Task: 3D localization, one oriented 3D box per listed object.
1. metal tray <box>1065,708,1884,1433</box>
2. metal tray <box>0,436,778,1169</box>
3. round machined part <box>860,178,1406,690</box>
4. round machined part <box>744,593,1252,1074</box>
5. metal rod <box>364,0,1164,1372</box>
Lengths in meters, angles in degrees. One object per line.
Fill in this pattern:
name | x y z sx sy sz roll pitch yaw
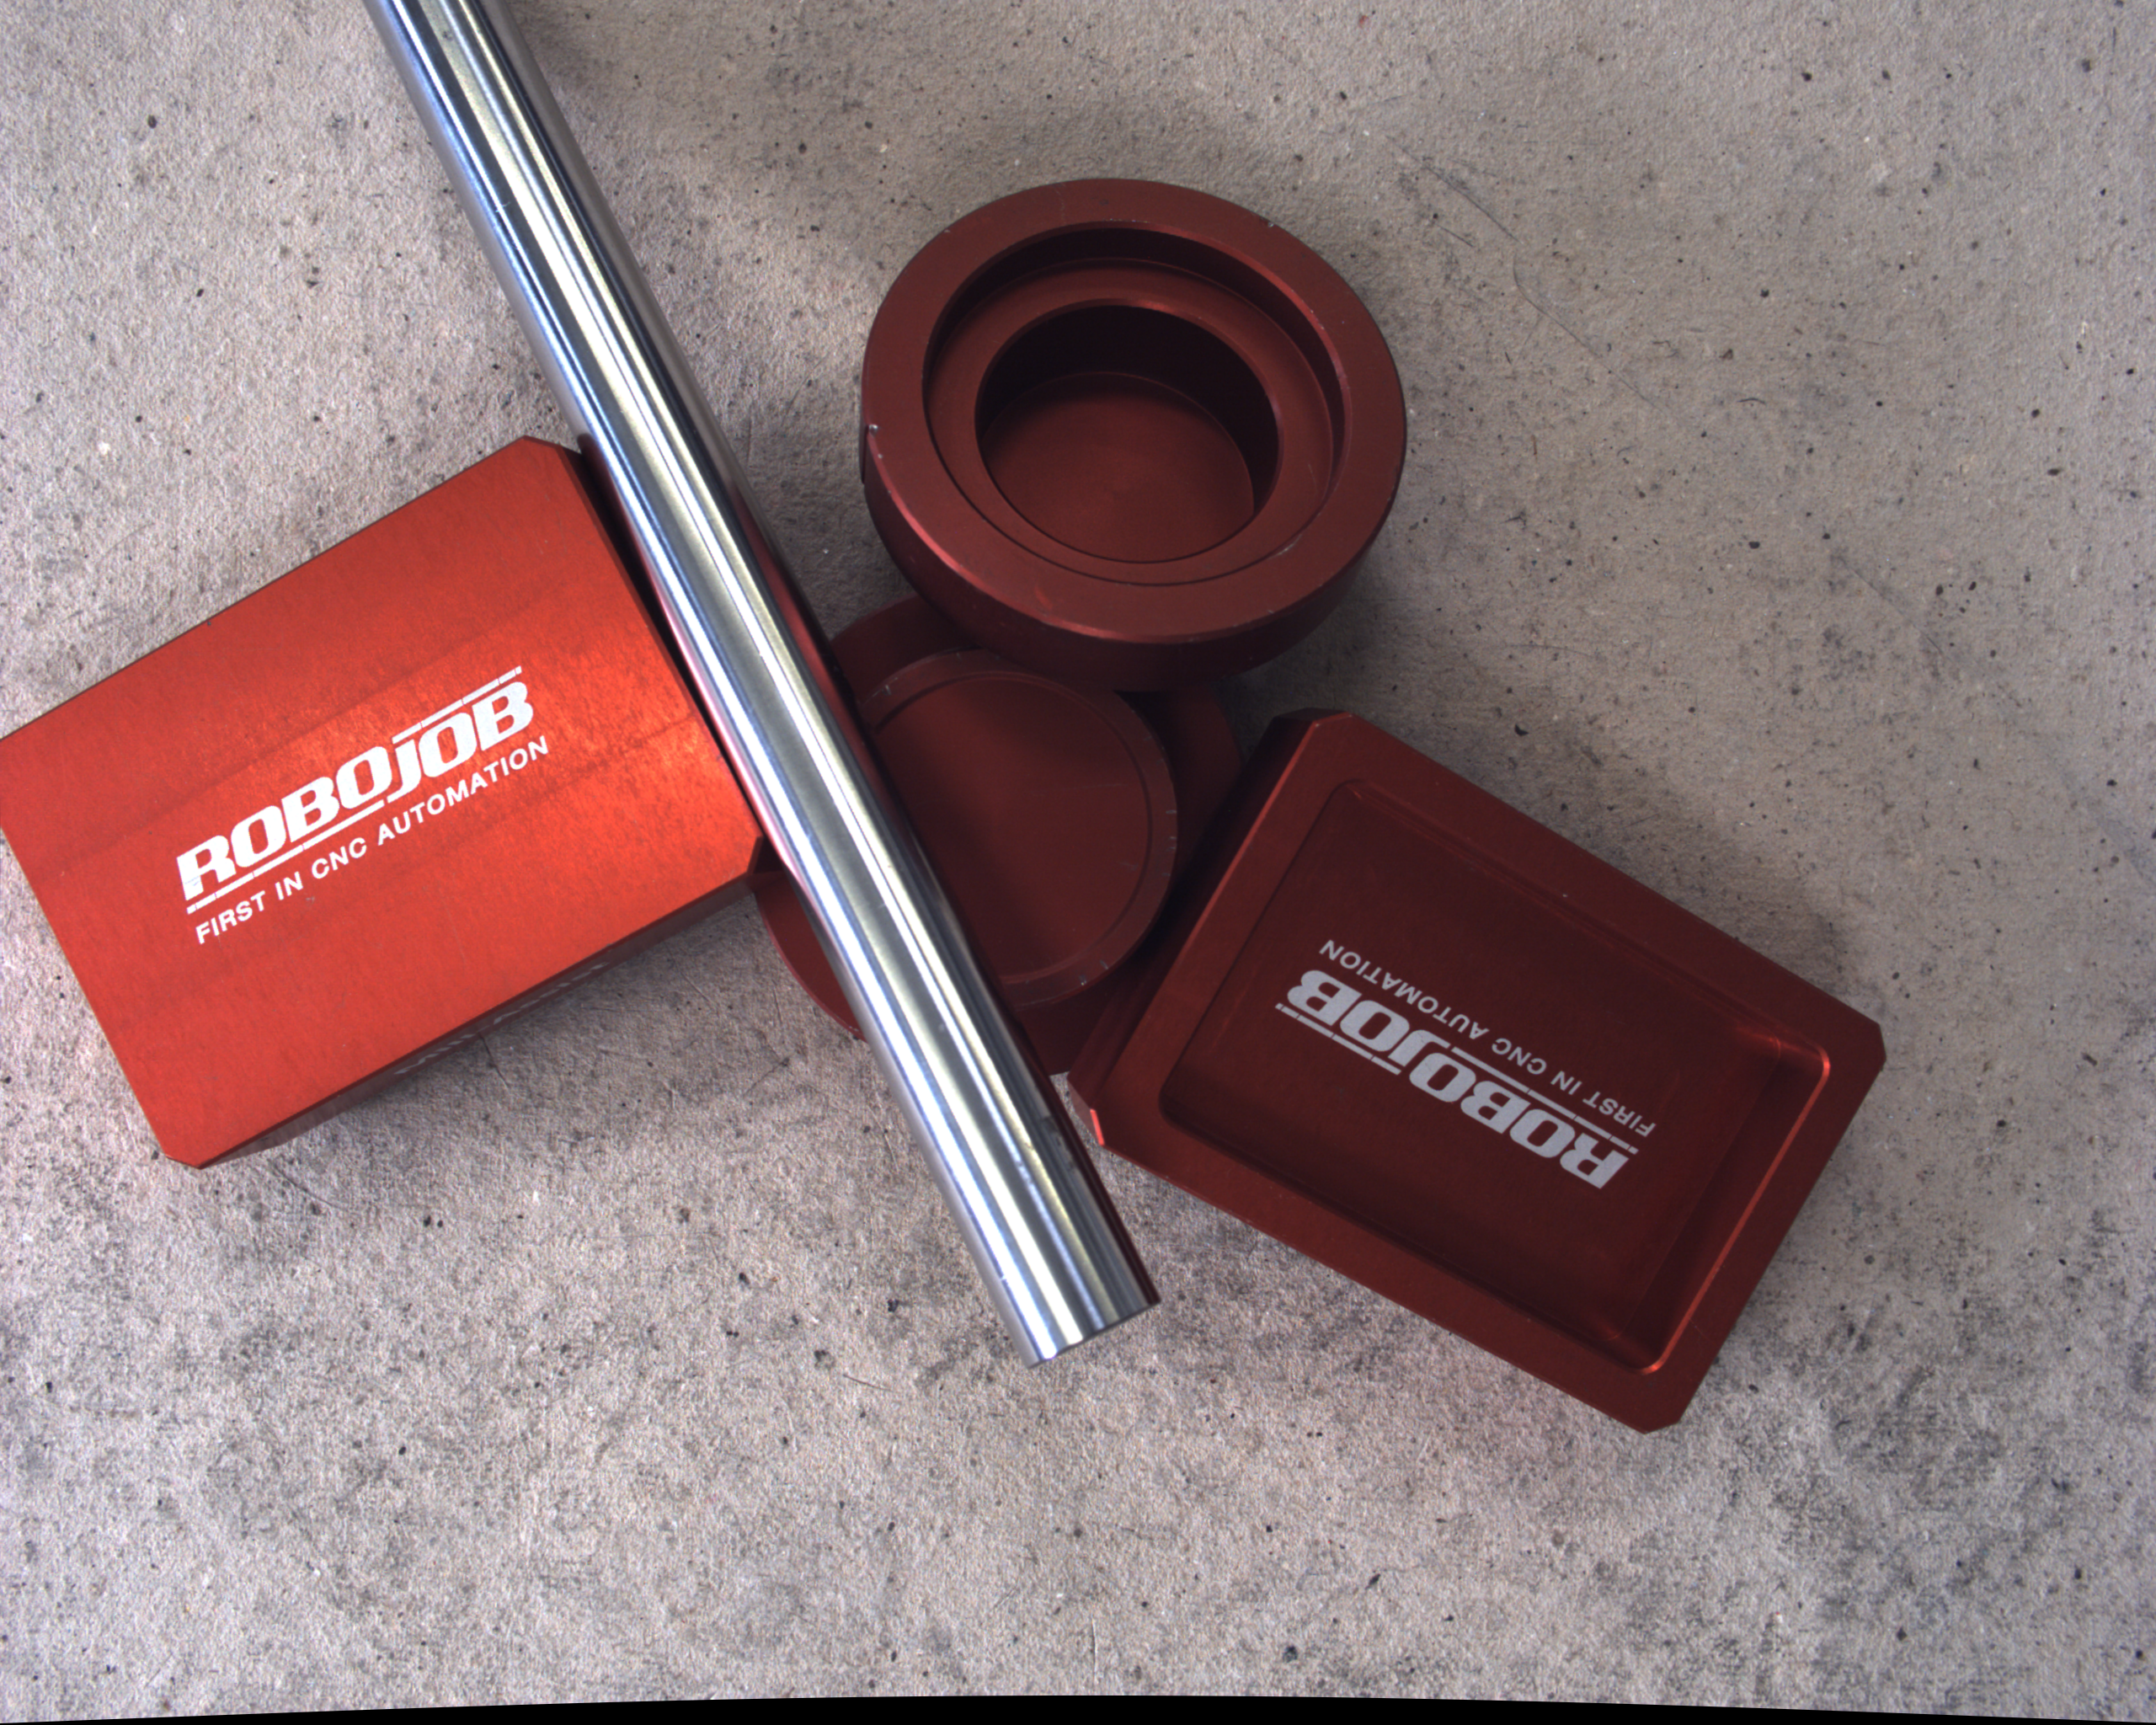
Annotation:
metal tray | 0.075 0.039 0.398 0.131 0.030 0.090 29 90 -11
metal tray | -0.130 -0.010 0.397 0.130 0.030 0.090 -28 87 8
round machined part | 0.008 -0.076 0.392 0.099 0.042 0.098 3 68 -6
round machined part | -0.015 -0.007 0.403 0.099 0.042 0.097 0 90 0
metal rod | -0.064 -0.051 0.377 0.025 0.025 0.299 -27 77 0
